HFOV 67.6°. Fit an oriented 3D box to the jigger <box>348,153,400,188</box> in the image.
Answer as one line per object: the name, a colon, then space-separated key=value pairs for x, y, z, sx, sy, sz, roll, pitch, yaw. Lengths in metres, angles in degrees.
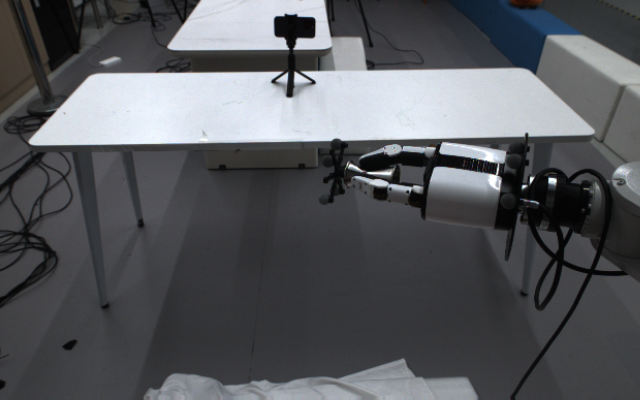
jigger: x=0.076 y=-0.033 z=0.663 sx=0.071 sy=0.043 sz=0.043 roll=10 pitch=35 yaw=22
